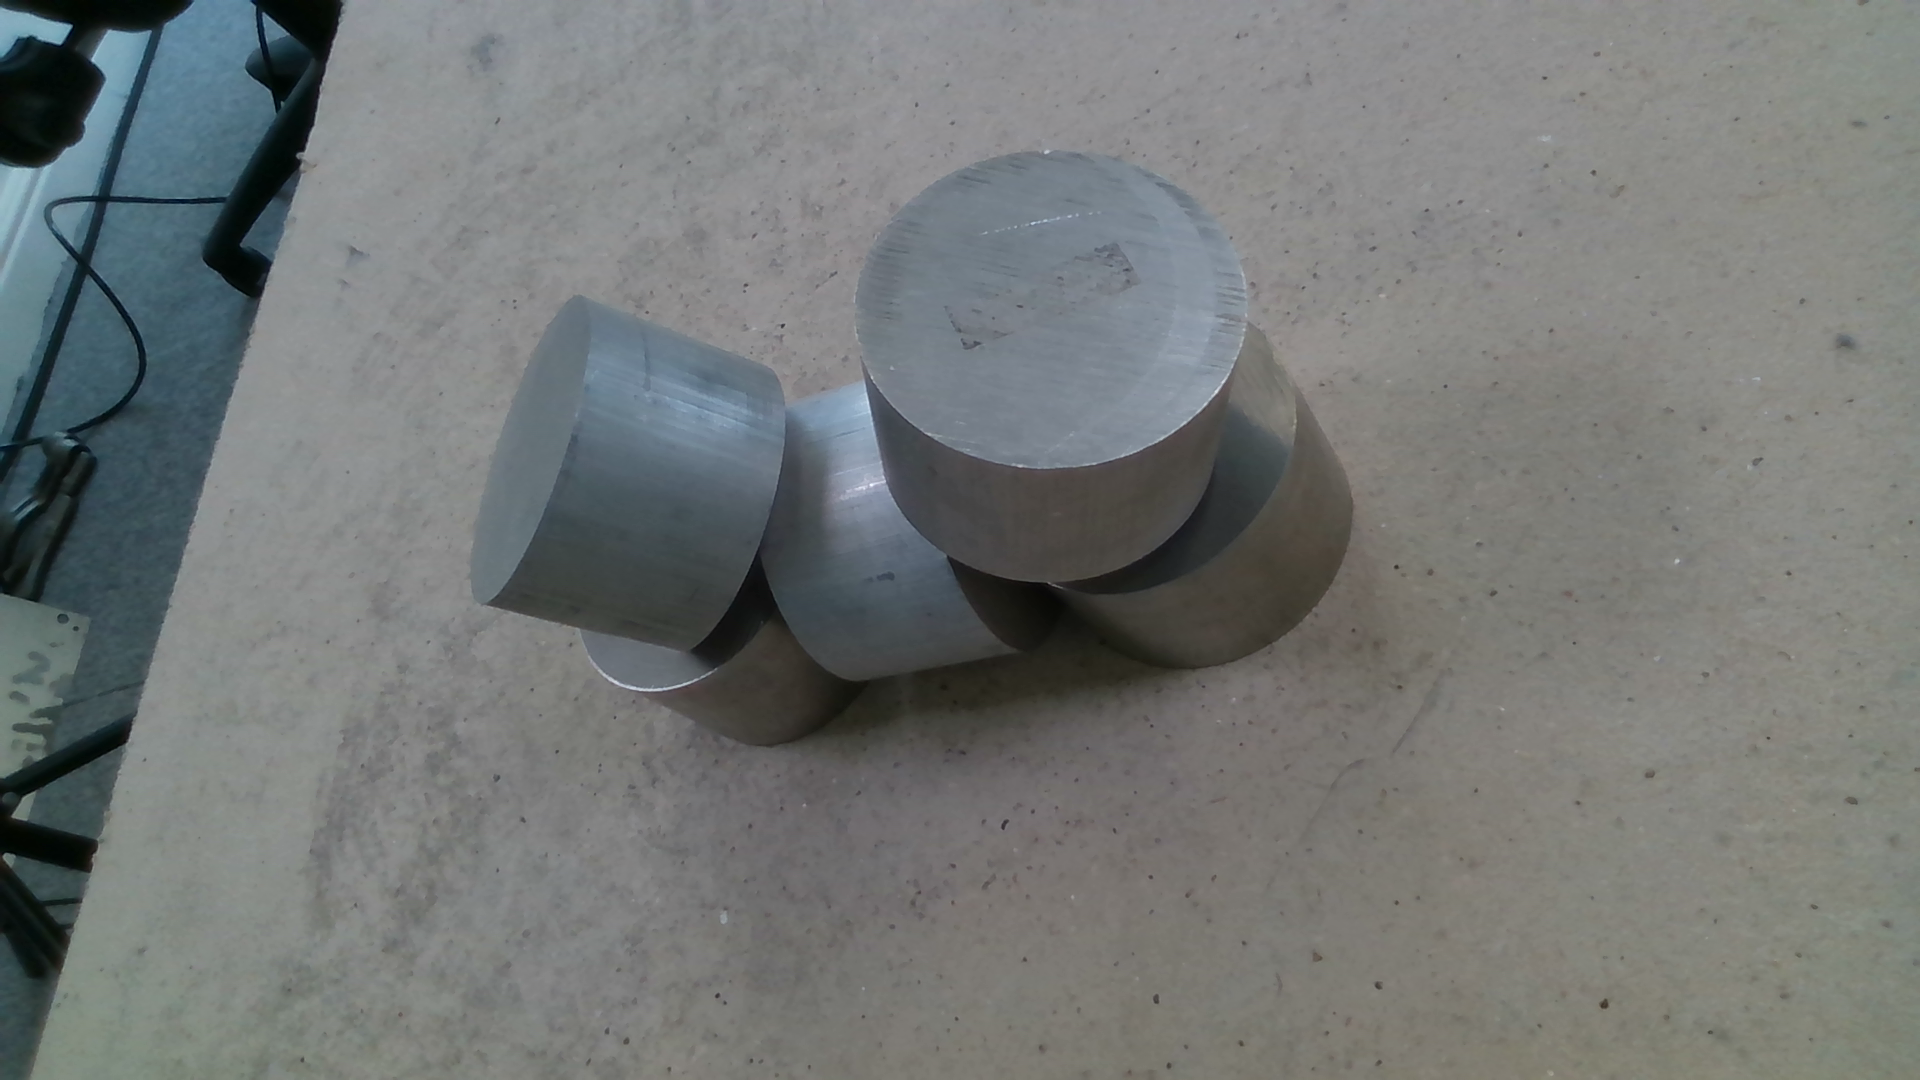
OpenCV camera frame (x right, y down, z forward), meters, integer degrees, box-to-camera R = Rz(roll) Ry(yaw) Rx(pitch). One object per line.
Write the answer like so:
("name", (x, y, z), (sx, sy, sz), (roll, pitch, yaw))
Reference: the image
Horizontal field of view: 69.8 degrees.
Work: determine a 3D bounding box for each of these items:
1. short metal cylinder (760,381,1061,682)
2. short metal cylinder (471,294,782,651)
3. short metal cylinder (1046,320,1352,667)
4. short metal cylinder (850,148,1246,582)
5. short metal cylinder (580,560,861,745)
("short metal cylinder", (-0.011, -0.006, 0.368), (0.050, 0.080, 0.080), (-13, 59, 26))
("short metal cylinder", (-0.087, -0.016, 0.353), (0.080, 0.050, 0.080), (-37, 44, 46))
("short metal cylinder", (0.054, -0.014, 0.352), (0.080, 0.050, 0.080), (-14, 59, 25))
("short metal cylinder", (0.019, -0.038, 0.302), (0.080, 0.050, 0.080), (-1, 63, 3))
("short metal cylinder", (-0.066, 0.015, 0.410), (0.080, 0.050, 0.080), (-14, 59, 25))
